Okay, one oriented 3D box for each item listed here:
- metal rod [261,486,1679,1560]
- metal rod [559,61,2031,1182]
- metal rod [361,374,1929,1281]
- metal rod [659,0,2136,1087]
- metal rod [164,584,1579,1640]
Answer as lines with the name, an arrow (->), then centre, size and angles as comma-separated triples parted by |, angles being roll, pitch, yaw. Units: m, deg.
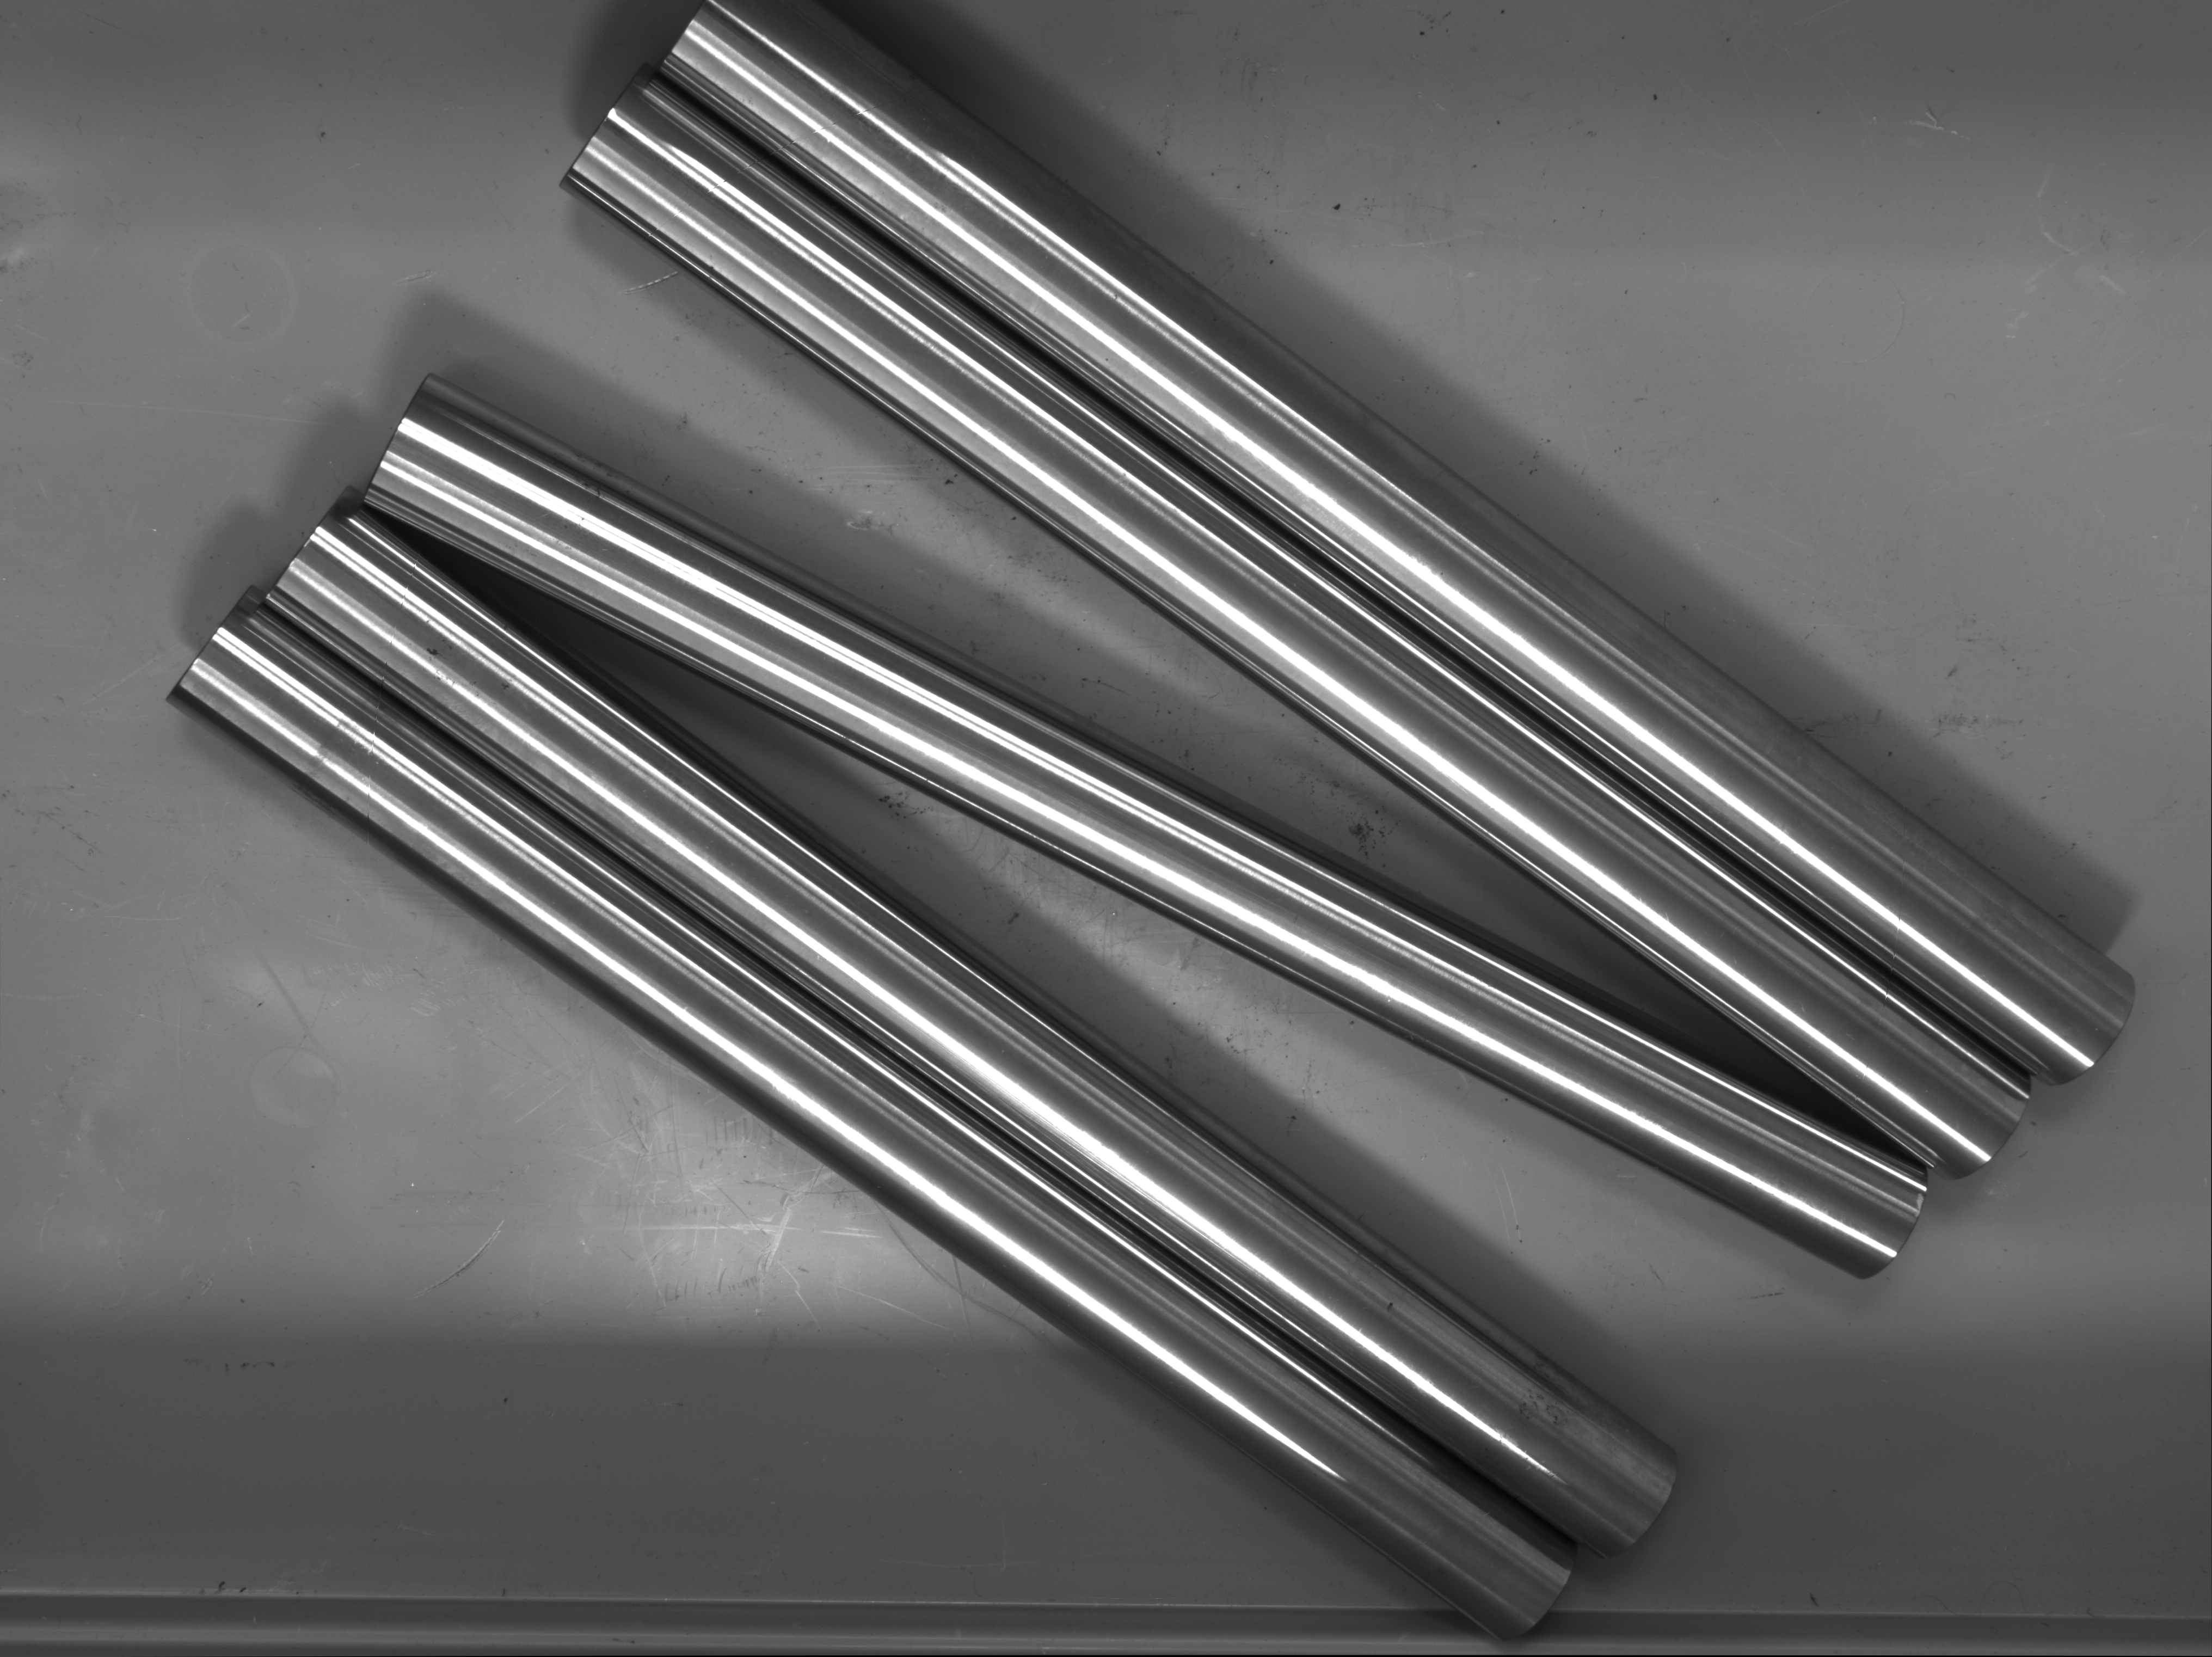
metal rod -> -0.019, 0.039, 0.657 | 0.300, 0.025, 0.025 | 37, 106, -12
metal rod -> 0.038, -0.031, 0.631 | 0.300, 0.025, 0.025 | 35, 106, -12
metal rod -> 0.012, 0.003, 0.644 | 0.300, 0.025, 0.025 | 28, 108, -10
metal rod -> 0.055, -0.049, 0.625 | 0.300, 0.025, 0.025 | 35, 106, -12
metal rod -> -0.037, 0.055, 0.663 | 0.300, 0.025, 0.025 | 37, 106, -12
